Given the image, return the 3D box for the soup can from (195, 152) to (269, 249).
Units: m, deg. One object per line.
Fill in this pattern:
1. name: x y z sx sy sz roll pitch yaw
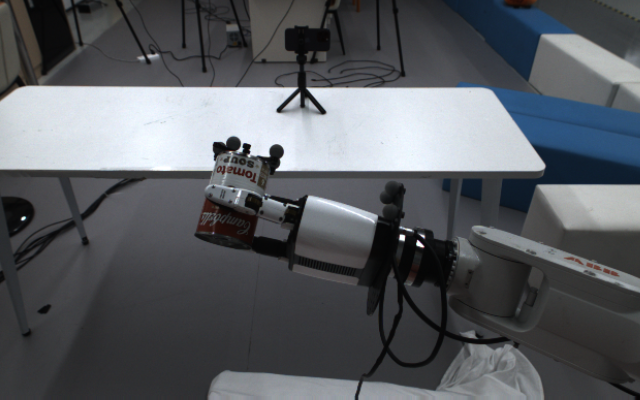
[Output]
1. soup can: -0.100 0.001 0.573 0.067 0.067 0.101 9 74 9
